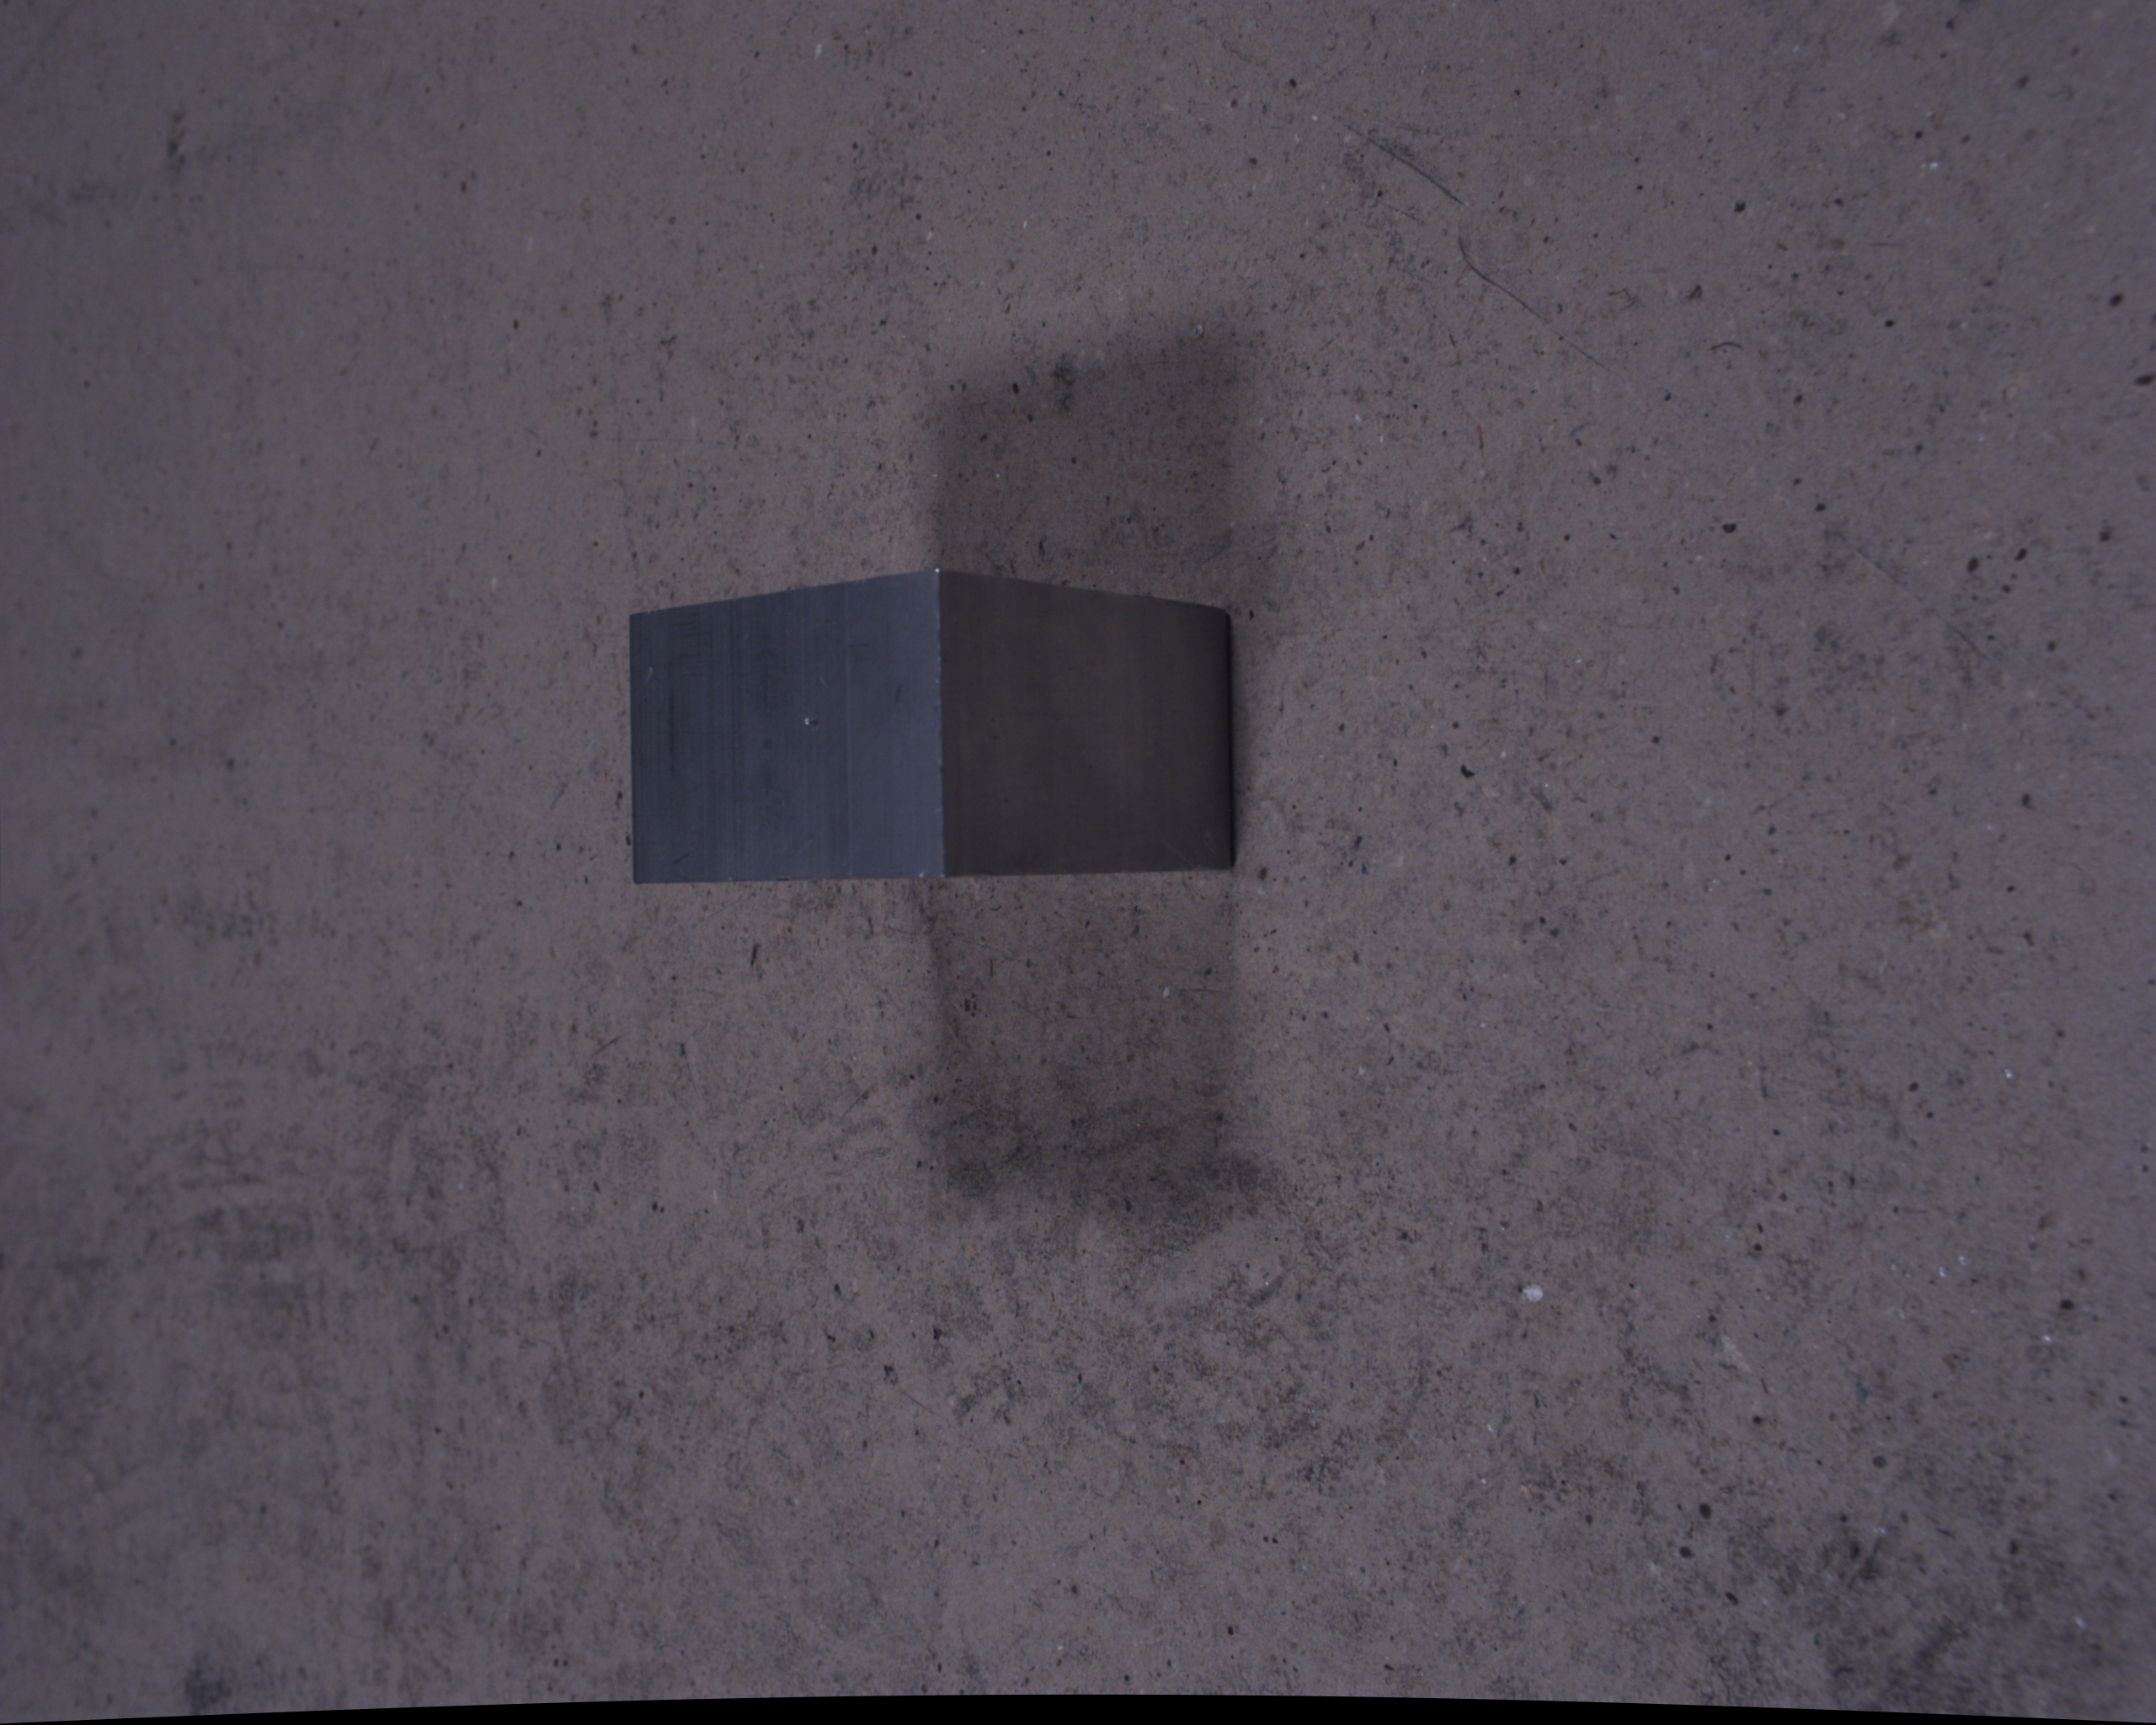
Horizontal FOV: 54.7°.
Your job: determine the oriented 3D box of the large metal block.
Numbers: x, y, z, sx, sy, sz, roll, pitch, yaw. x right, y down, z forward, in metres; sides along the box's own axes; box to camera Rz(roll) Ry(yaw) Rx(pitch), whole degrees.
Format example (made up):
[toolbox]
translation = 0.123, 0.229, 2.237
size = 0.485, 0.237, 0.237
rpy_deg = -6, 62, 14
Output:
[large metal block]
translation = -0.027, -0.022, 0.391
size = 0.080, 0.081, 0.050
rpy_deg = -1, 89, 39
